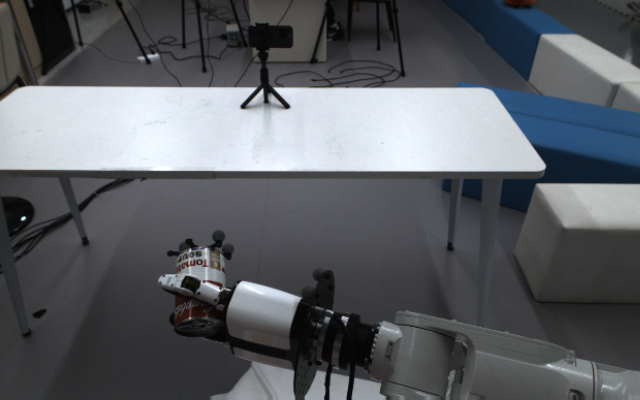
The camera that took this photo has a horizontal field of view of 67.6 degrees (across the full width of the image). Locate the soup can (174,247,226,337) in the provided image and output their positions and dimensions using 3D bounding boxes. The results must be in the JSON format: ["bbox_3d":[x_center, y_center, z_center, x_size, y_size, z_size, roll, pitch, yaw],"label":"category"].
[{"bbox_3d":[-0.158,0.124,0.644,0.067,0.067,0.101,-4,57,-9],"label":"soup can"}]
